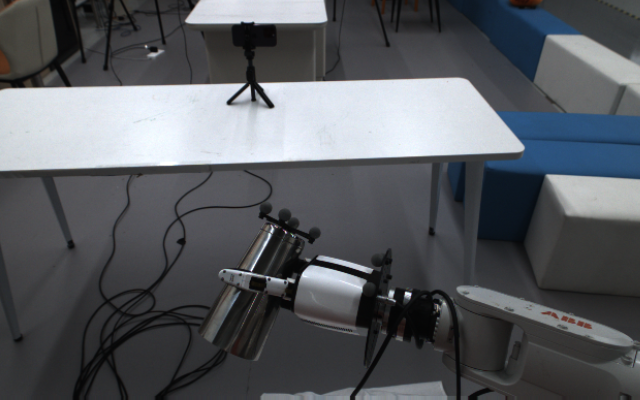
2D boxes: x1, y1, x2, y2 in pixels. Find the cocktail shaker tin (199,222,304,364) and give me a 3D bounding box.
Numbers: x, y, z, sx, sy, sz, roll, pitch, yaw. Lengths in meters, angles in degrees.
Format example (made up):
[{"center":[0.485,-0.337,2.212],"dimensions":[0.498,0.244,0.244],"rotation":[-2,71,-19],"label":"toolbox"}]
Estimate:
[{"center":[-0.085,0.119,0.668],"dimensions":[0.093,0.093,0.170],"rotation":[21,81,25],"label":"cocktail shaker tin"}]
